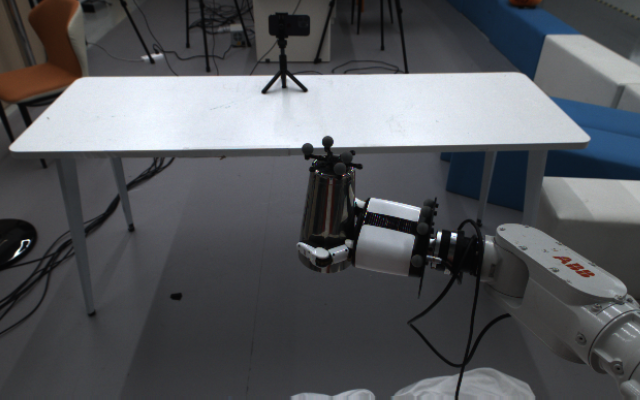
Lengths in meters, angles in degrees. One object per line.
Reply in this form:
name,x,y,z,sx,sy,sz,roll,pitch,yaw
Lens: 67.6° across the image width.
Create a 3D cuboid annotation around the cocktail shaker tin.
cocktail shaker tin,0.015,0.019,0.754,0.093,0.170,0.093,3,34,-2
